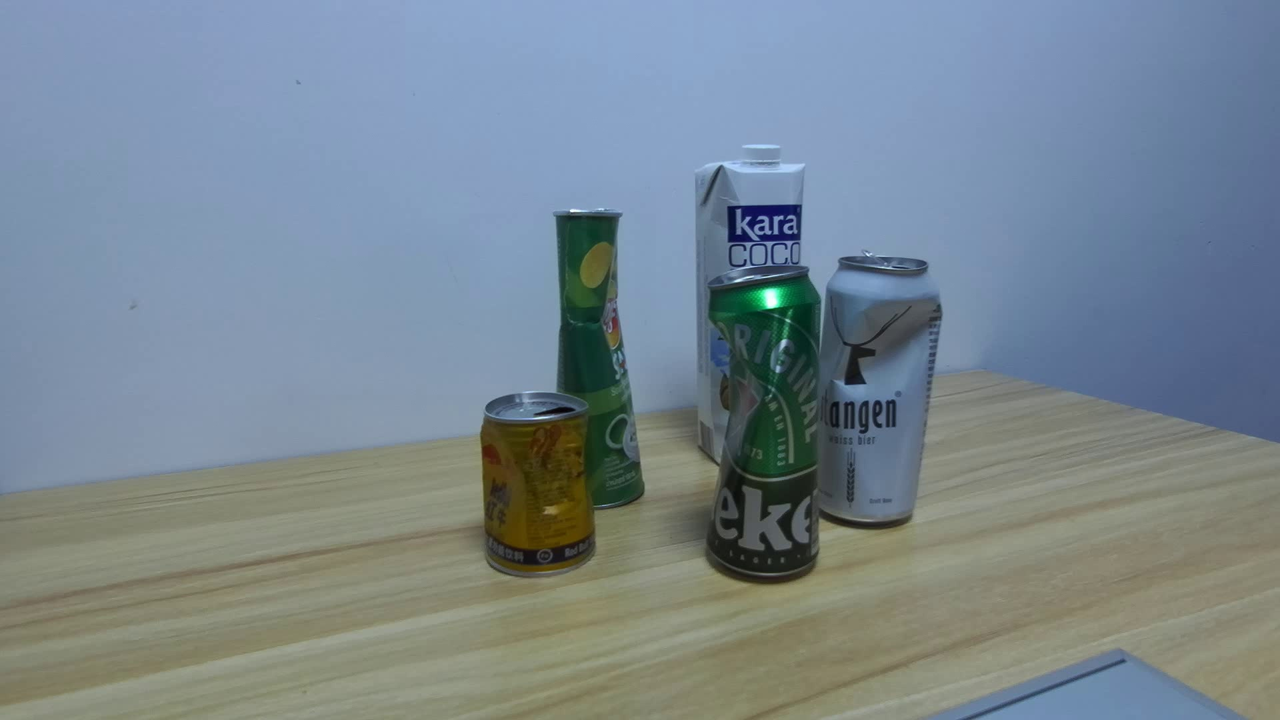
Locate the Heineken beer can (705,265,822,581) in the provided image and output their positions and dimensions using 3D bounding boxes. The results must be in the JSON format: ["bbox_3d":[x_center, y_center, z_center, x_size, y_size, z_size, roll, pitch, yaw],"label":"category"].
[{"bbox_3d":[0.067,0.035,0.394,0.069,0.168,0.069,6,14,40],"label":"Heineken beer can"}]

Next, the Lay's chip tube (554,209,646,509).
[{"bbox_3d":[-0.032,-0.002,0.493,0.069,0.199,0.074,-8,13,-30],"label":"Lay's chip tube"}]

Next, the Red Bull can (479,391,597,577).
[{"bbox_3d":[-0.059,0.070,0.414,0.072,0.092,0.072,-1,12,0],"label":"Red Bull can"}]

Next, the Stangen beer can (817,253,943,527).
[{"bbox_3d":[0.150,0.019,0.454,0.070,0.173,0.070,9,16,32],"label":"Stangen beer can"}]

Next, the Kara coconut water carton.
[{"bbox_3d":[0.086,-0.043,0.562,0.077,0.245,0.075,-4,11,-12],"label":"Kara coconut water carton"}]
